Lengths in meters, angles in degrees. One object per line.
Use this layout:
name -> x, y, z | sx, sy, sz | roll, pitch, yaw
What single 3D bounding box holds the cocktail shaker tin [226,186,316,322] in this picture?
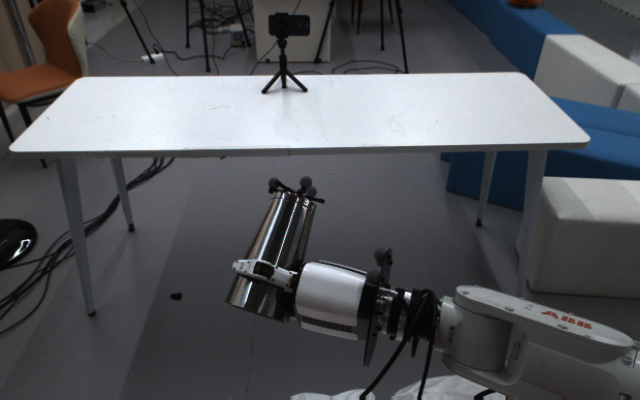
cocktail shaker tin -> -0.064, 0.078, 0.684 | 0.093, 0.093, 0.170 | 14, 73, 16
